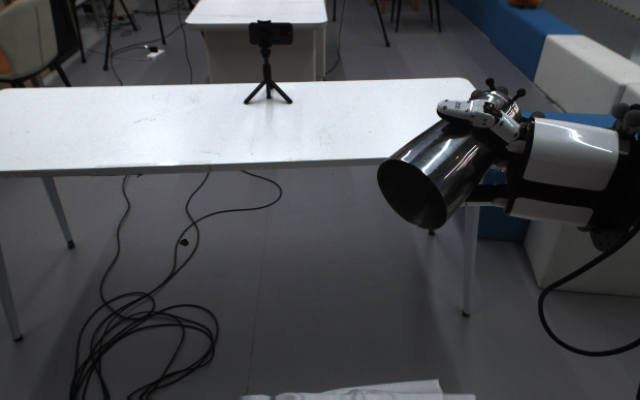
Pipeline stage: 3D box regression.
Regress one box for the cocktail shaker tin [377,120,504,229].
[{"bbox_3d":[0.156,-0.059,0.548,0.170,0.093,0.093,-38,50,-24],"label":"cocktail shaker tin"}]
